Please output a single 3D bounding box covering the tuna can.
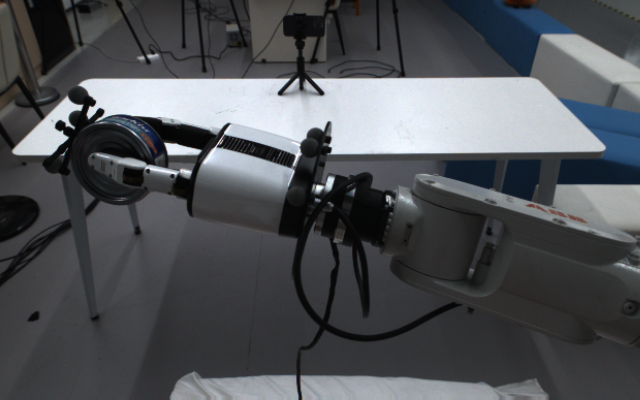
[{"bbox_3d":[-0.193,-0.035,0.476,0.085,0.085,0.034,4,22,2],"label":"tuna can"}]
